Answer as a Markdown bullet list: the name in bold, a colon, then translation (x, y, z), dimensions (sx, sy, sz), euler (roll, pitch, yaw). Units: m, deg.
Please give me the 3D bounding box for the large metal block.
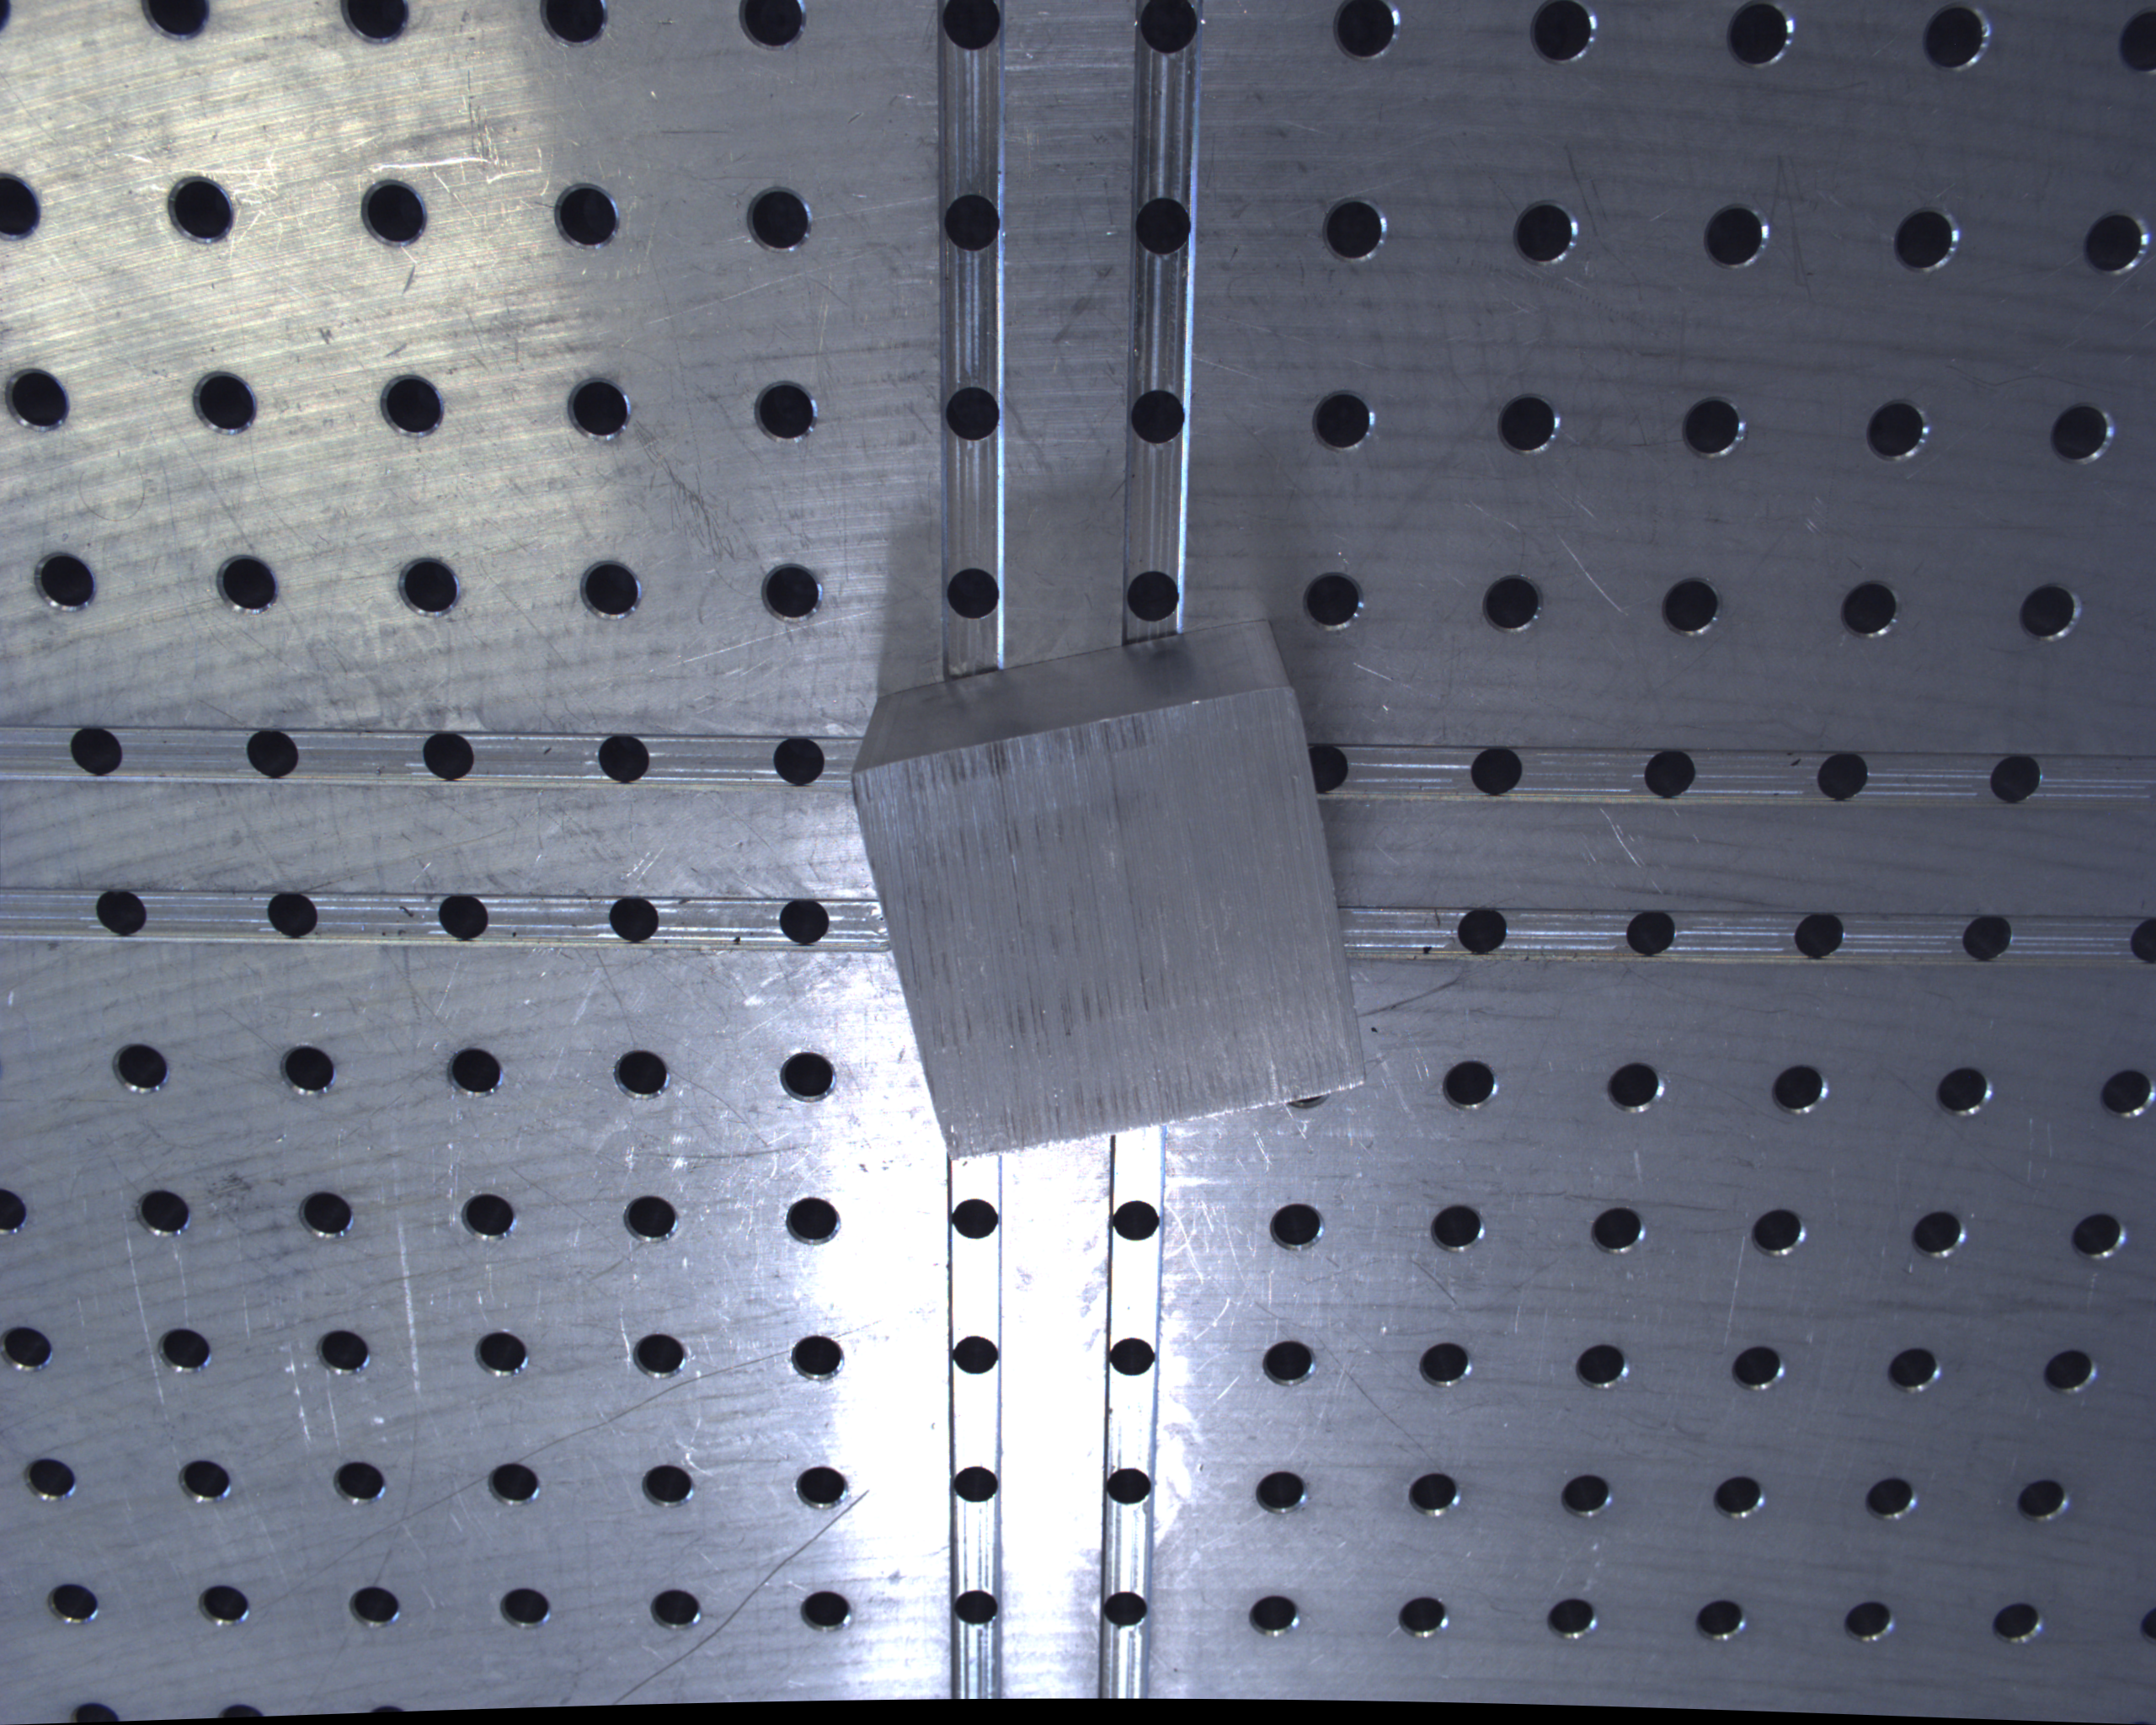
- **large metal block**: translation (0.006, 0.004, 0.401), dimensions (0.080, 0.050, 0.080), euler (-11, 110, 4)
